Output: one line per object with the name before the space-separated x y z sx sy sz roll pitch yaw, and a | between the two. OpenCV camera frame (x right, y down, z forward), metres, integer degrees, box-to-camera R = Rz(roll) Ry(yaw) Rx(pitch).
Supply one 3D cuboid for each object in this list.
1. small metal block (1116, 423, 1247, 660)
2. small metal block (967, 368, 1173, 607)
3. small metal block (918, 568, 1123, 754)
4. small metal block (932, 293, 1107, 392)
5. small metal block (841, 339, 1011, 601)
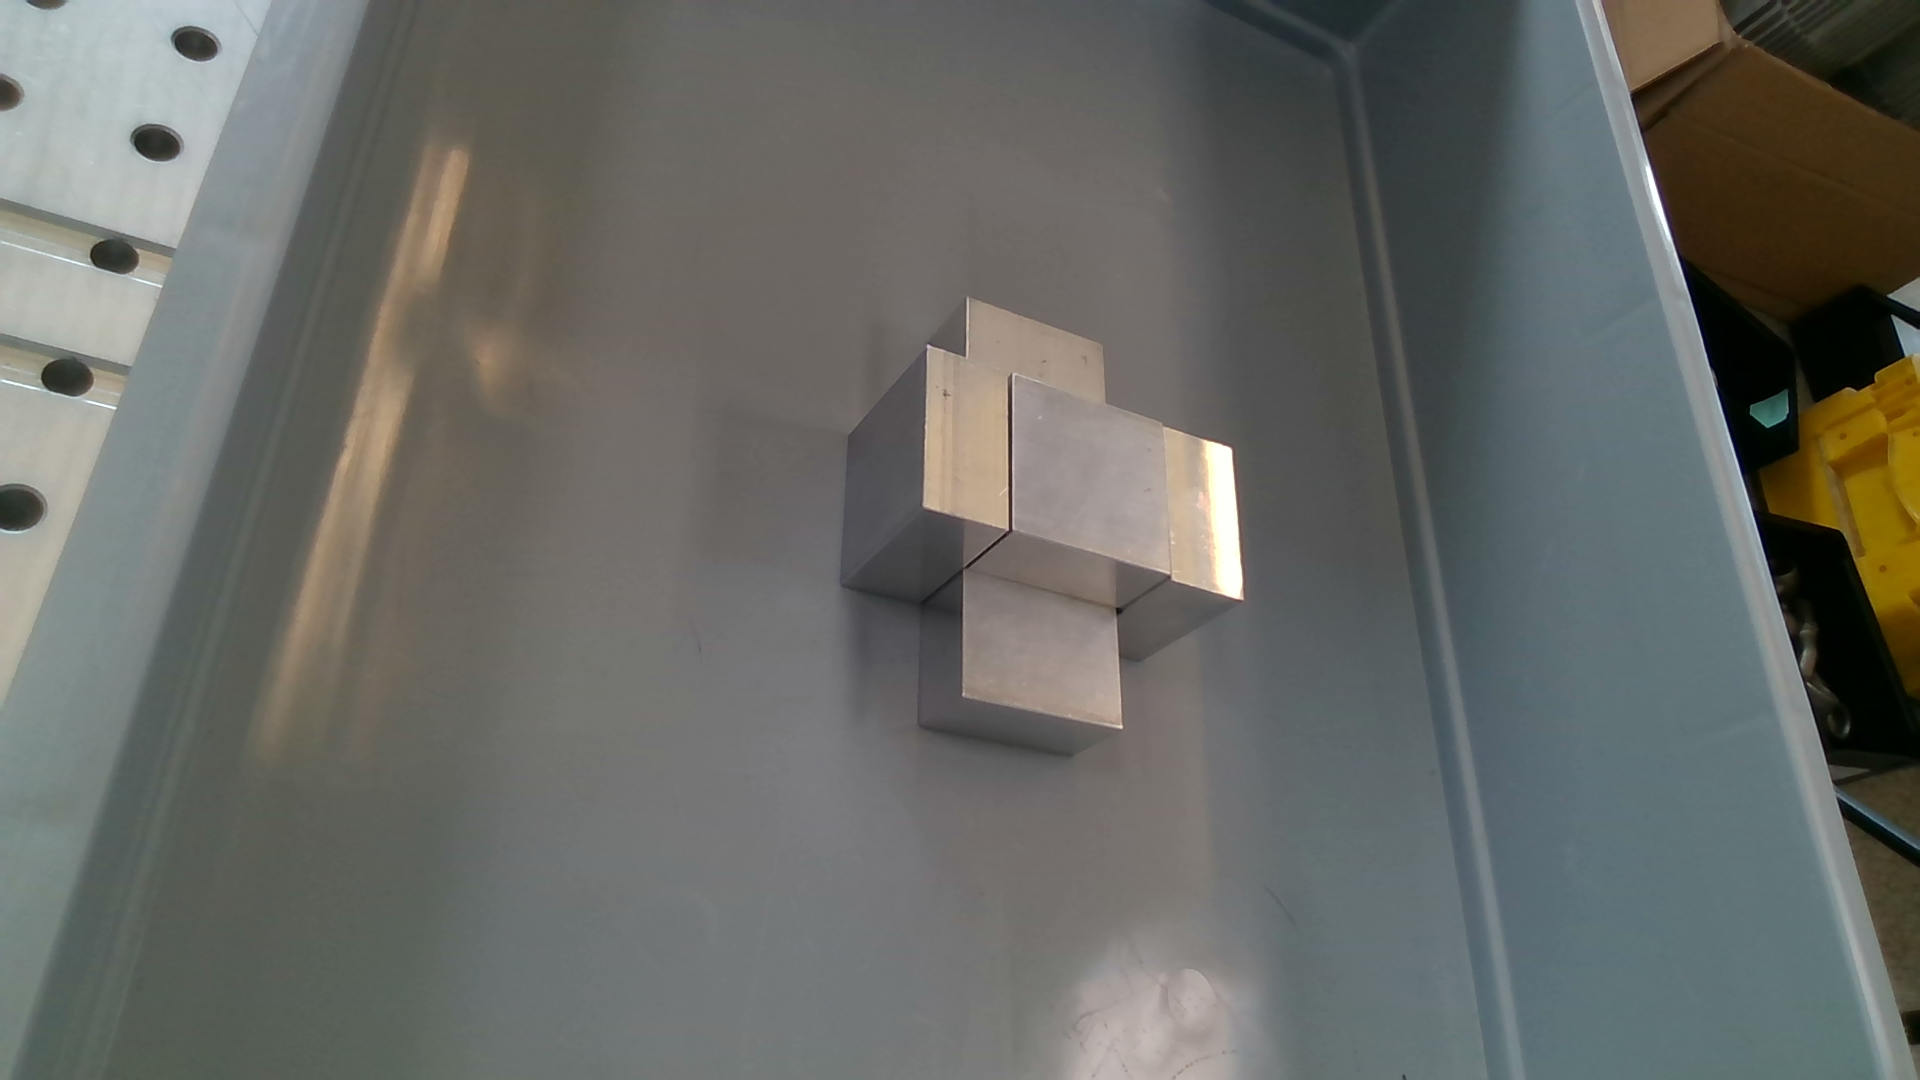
small metal block | 0.057 0.002 0.409 0.025 0.050 0.050 15 59 -24
small metal block | 0.030 -0.014 0.384 0.050 0.025 0.050 15 59 -25
small metal block | 0.017 0.029 0.387 0.050 0.025 0.050 15 59 -25
small metal block | 0.018 -0.042 0.424 0.050 0.025 0.050 15 58 -25
small metal block | -0.010 -0.018 0.377 0.025 0.050 0.050 15 59 -24
